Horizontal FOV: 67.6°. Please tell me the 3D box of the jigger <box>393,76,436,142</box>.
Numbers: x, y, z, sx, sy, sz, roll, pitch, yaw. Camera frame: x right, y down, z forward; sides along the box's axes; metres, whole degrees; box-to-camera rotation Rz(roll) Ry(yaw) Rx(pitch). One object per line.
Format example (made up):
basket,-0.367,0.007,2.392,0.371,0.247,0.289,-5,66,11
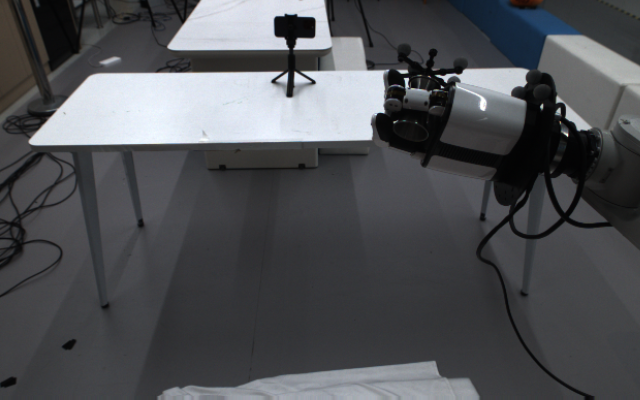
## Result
jigger,0.120,-0.111,0.585,0.043,0.043,0.071,12,71,14
